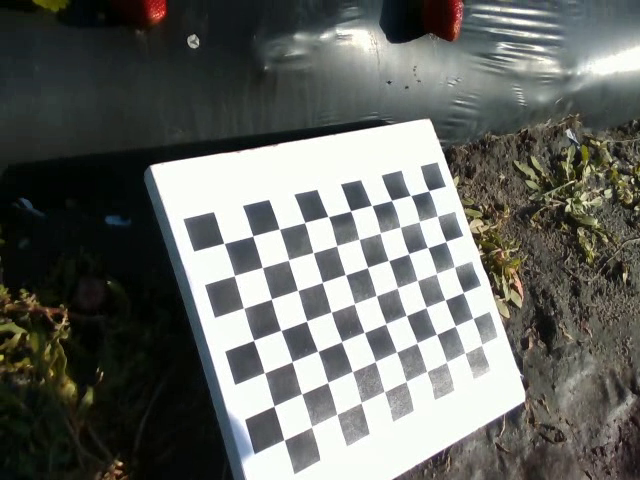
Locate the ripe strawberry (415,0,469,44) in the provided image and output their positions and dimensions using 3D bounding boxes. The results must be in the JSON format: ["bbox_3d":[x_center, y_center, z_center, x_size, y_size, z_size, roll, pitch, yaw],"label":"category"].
[{"bbox_3d":[0.110,-0.192,0.653,0.042,0.059,0.042,13,-33,-37],"label":"ripe strawberry"}]

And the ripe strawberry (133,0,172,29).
[{"bbox_3d":[-0.118,-0.166,0.520,0.045,0.042,0.055,-4,47,-41],"label":"ripe strawberry"}]
